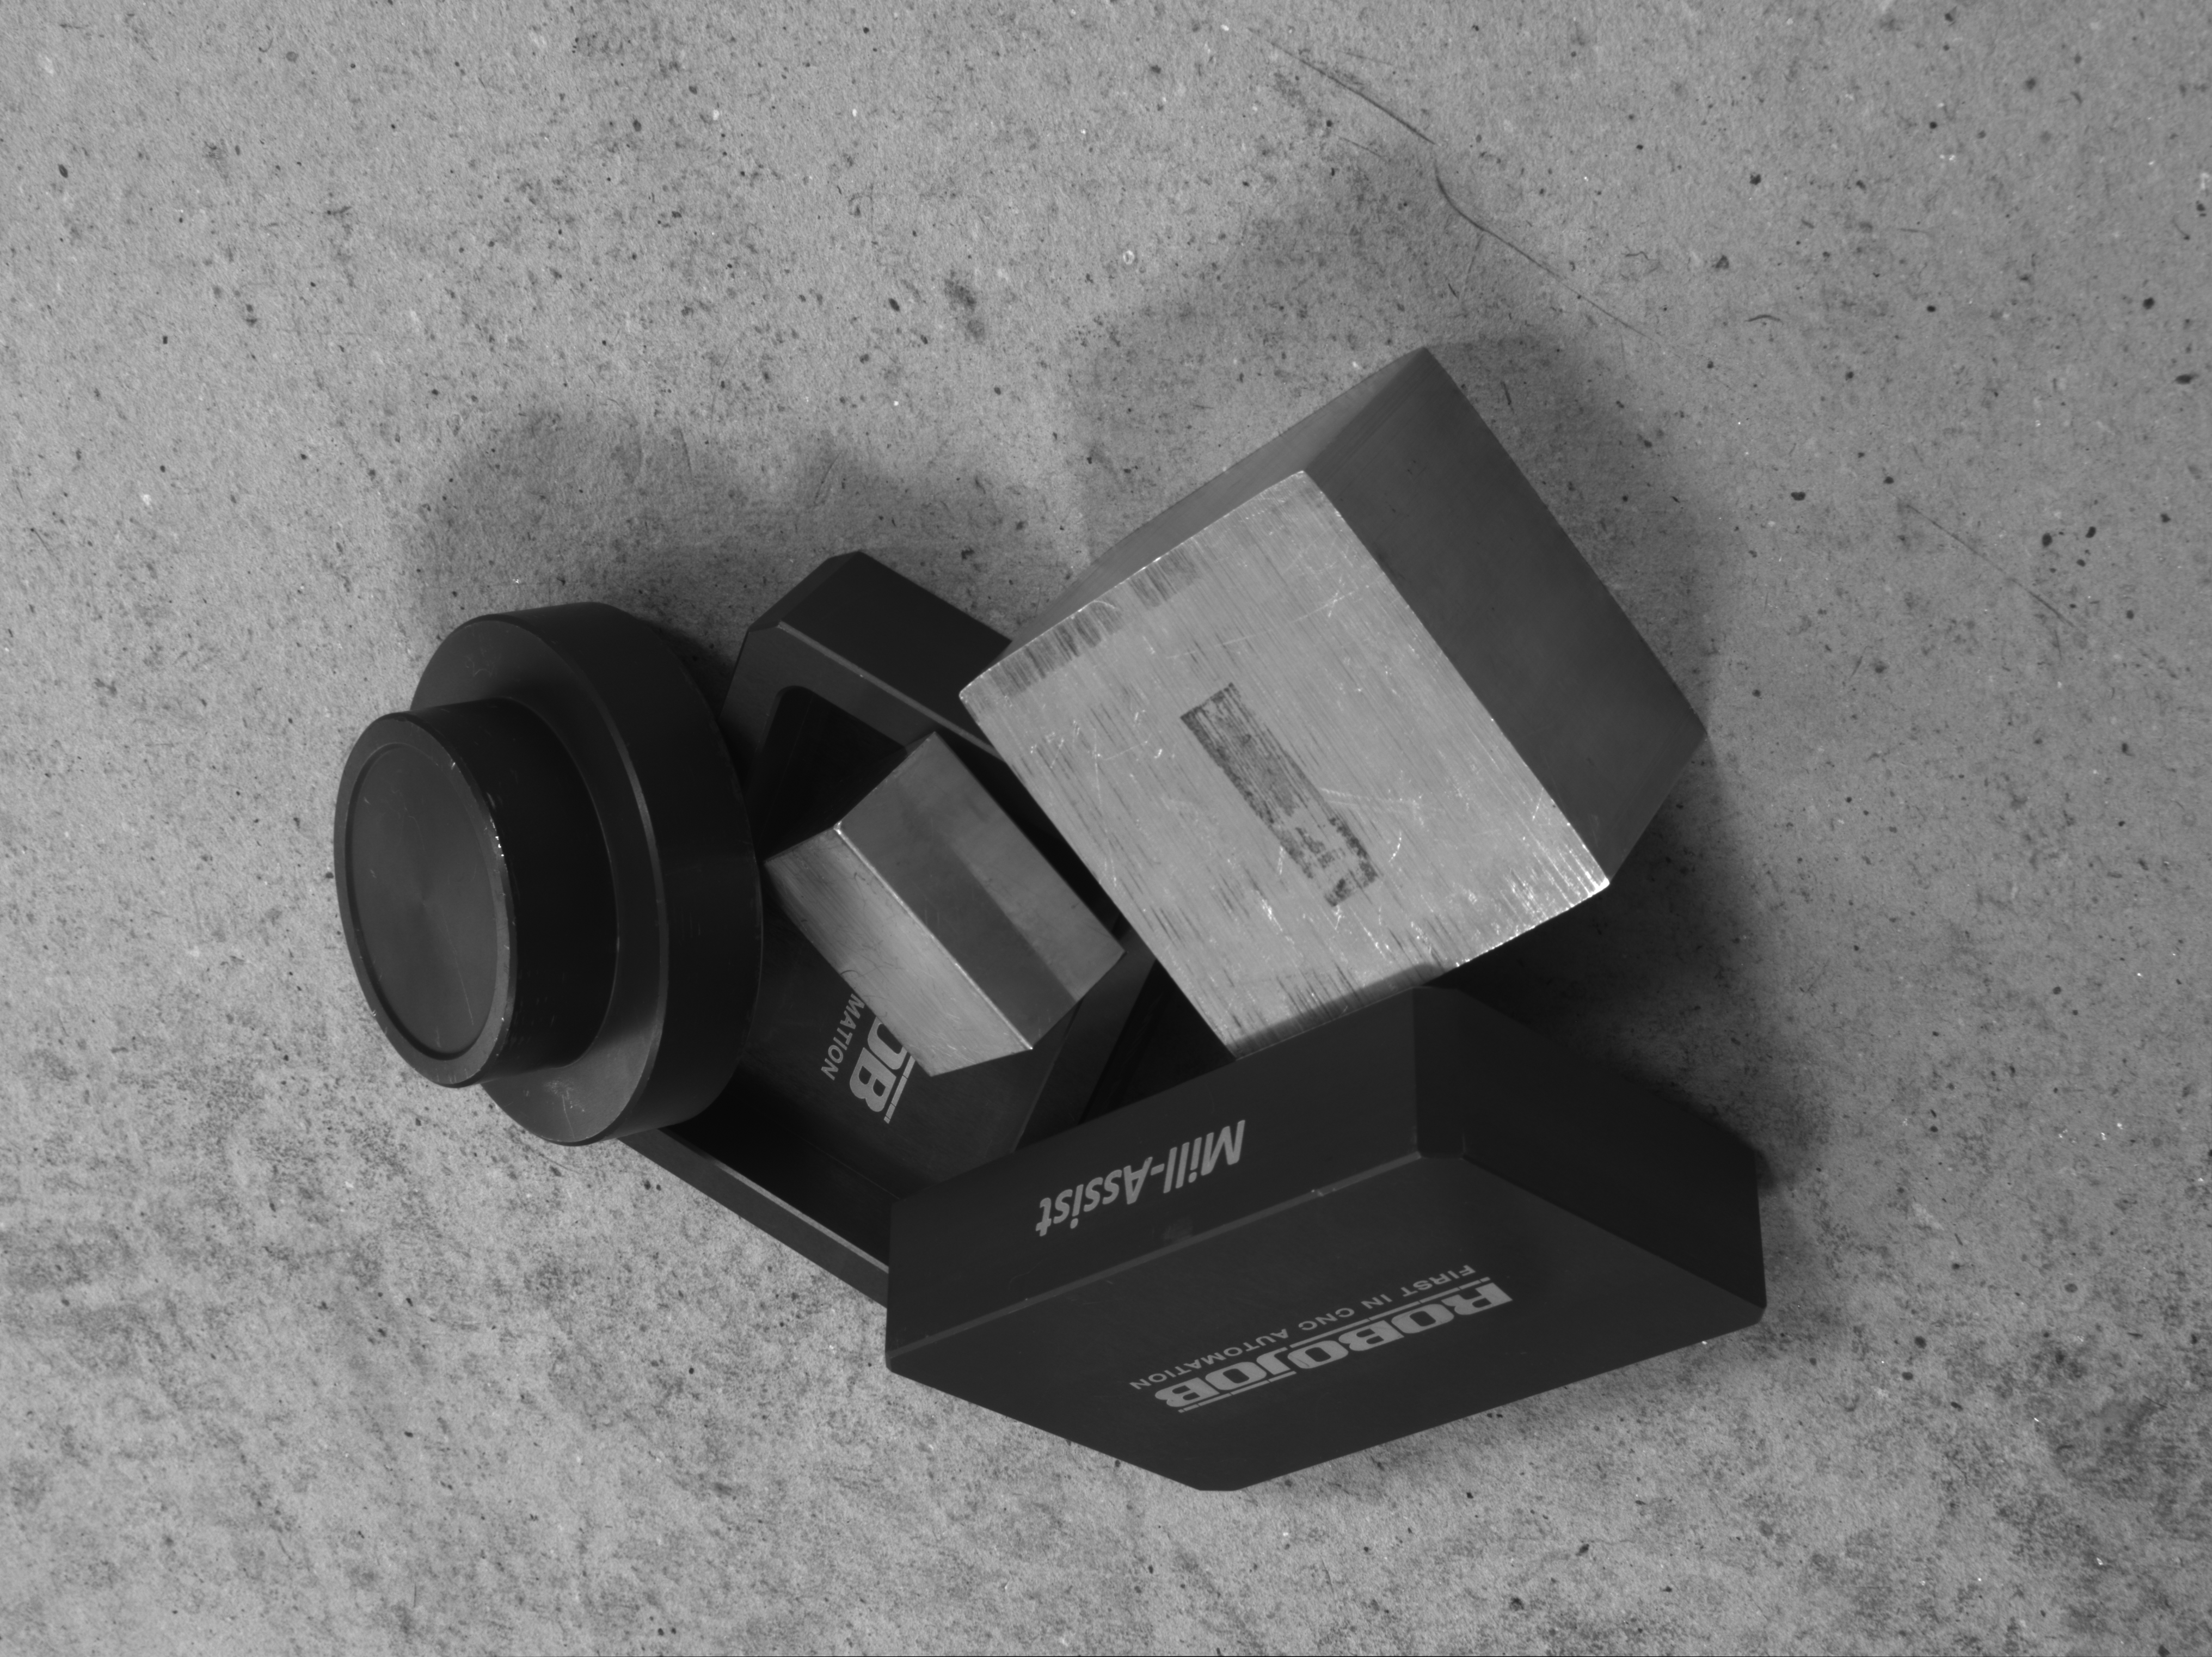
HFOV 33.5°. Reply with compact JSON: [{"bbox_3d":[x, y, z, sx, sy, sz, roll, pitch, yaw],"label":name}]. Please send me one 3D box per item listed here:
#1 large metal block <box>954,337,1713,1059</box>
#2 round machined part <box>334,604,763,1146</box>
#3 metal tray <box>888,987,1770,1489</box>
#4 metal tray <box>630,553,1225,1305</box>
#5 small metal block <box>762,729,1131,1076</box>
[{"bbox_3d":[0.037,-0.019,0.596,0.080,0.050,0.080,-30,101,38],"label":"large metal block"},{"bbox_3d":[-0.106,0.010,0.668,0.098,0.042,0.098,17,112,50],"label":"round machined part"},{"bbox_3d":[0.037,0.075,0.636,0.130,0.030,0.090,-25,141,37],"label":"metal tray"},{"bbox_3d":[-0.037,0.025,0.674,0.090,0.030,0.130,30,128,9],"label":"metal tray"},{"bbox_3d":[-0.030,0.014,0.638,0.050,0.025,0.050,49,157,-8],"label":"small metal block"}]
